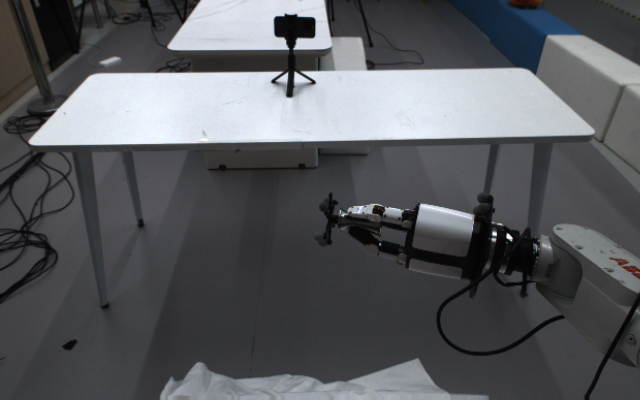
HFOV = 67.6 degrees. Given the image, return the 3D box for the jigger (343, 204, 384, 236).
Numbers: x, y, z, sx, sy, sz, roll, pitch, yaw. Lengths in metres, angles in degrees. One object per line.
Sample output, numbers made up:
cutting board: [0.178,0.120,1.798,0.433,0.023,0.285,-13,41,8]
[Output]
jigger: [0.073,0.031,0.784,0.071,0.043,0.043,5,35,11]
